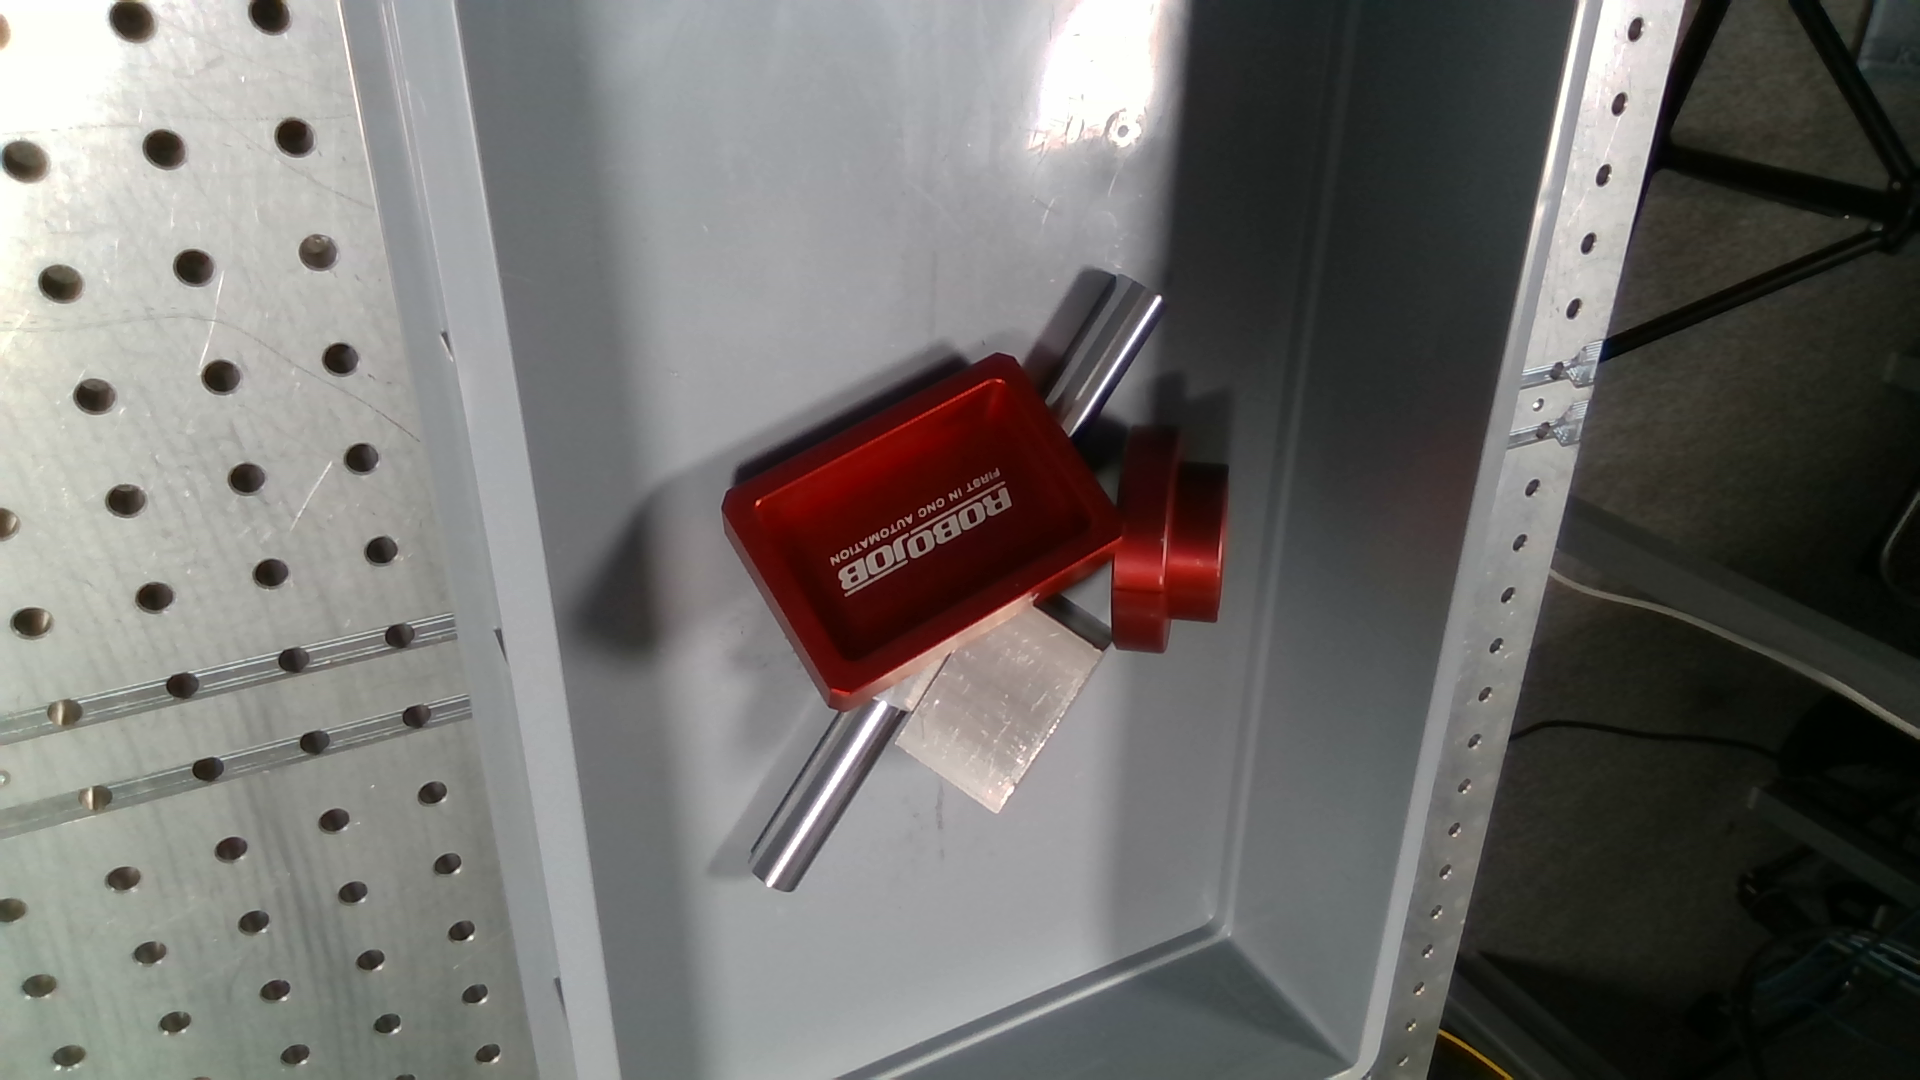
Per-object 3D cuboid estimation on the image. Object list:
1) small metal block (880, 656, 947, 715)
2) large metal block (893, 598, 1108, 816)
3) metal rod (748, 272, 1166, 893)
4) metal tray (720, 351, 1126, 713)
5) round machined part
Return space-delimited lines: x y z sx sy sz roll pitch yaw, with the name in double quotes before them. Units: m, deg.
"small metal block" -0.026 0.036 0.566 0.025 0.050 0.050 28 99 -38
"large metal block" 0.022 0.062 0.585 0.080 0.050 0.080 -58 171 7
"metal rod" -0.004 0.022 0.589 0.025 0.025 0.300 26 100 -38
"metal tray" -0.014 -0.005 0.528 0.130 0.090 0.030 -29 167 -16
"round machined part" 0.091 0.001 0.586 0.042 0.098 0.098 5 120 11
